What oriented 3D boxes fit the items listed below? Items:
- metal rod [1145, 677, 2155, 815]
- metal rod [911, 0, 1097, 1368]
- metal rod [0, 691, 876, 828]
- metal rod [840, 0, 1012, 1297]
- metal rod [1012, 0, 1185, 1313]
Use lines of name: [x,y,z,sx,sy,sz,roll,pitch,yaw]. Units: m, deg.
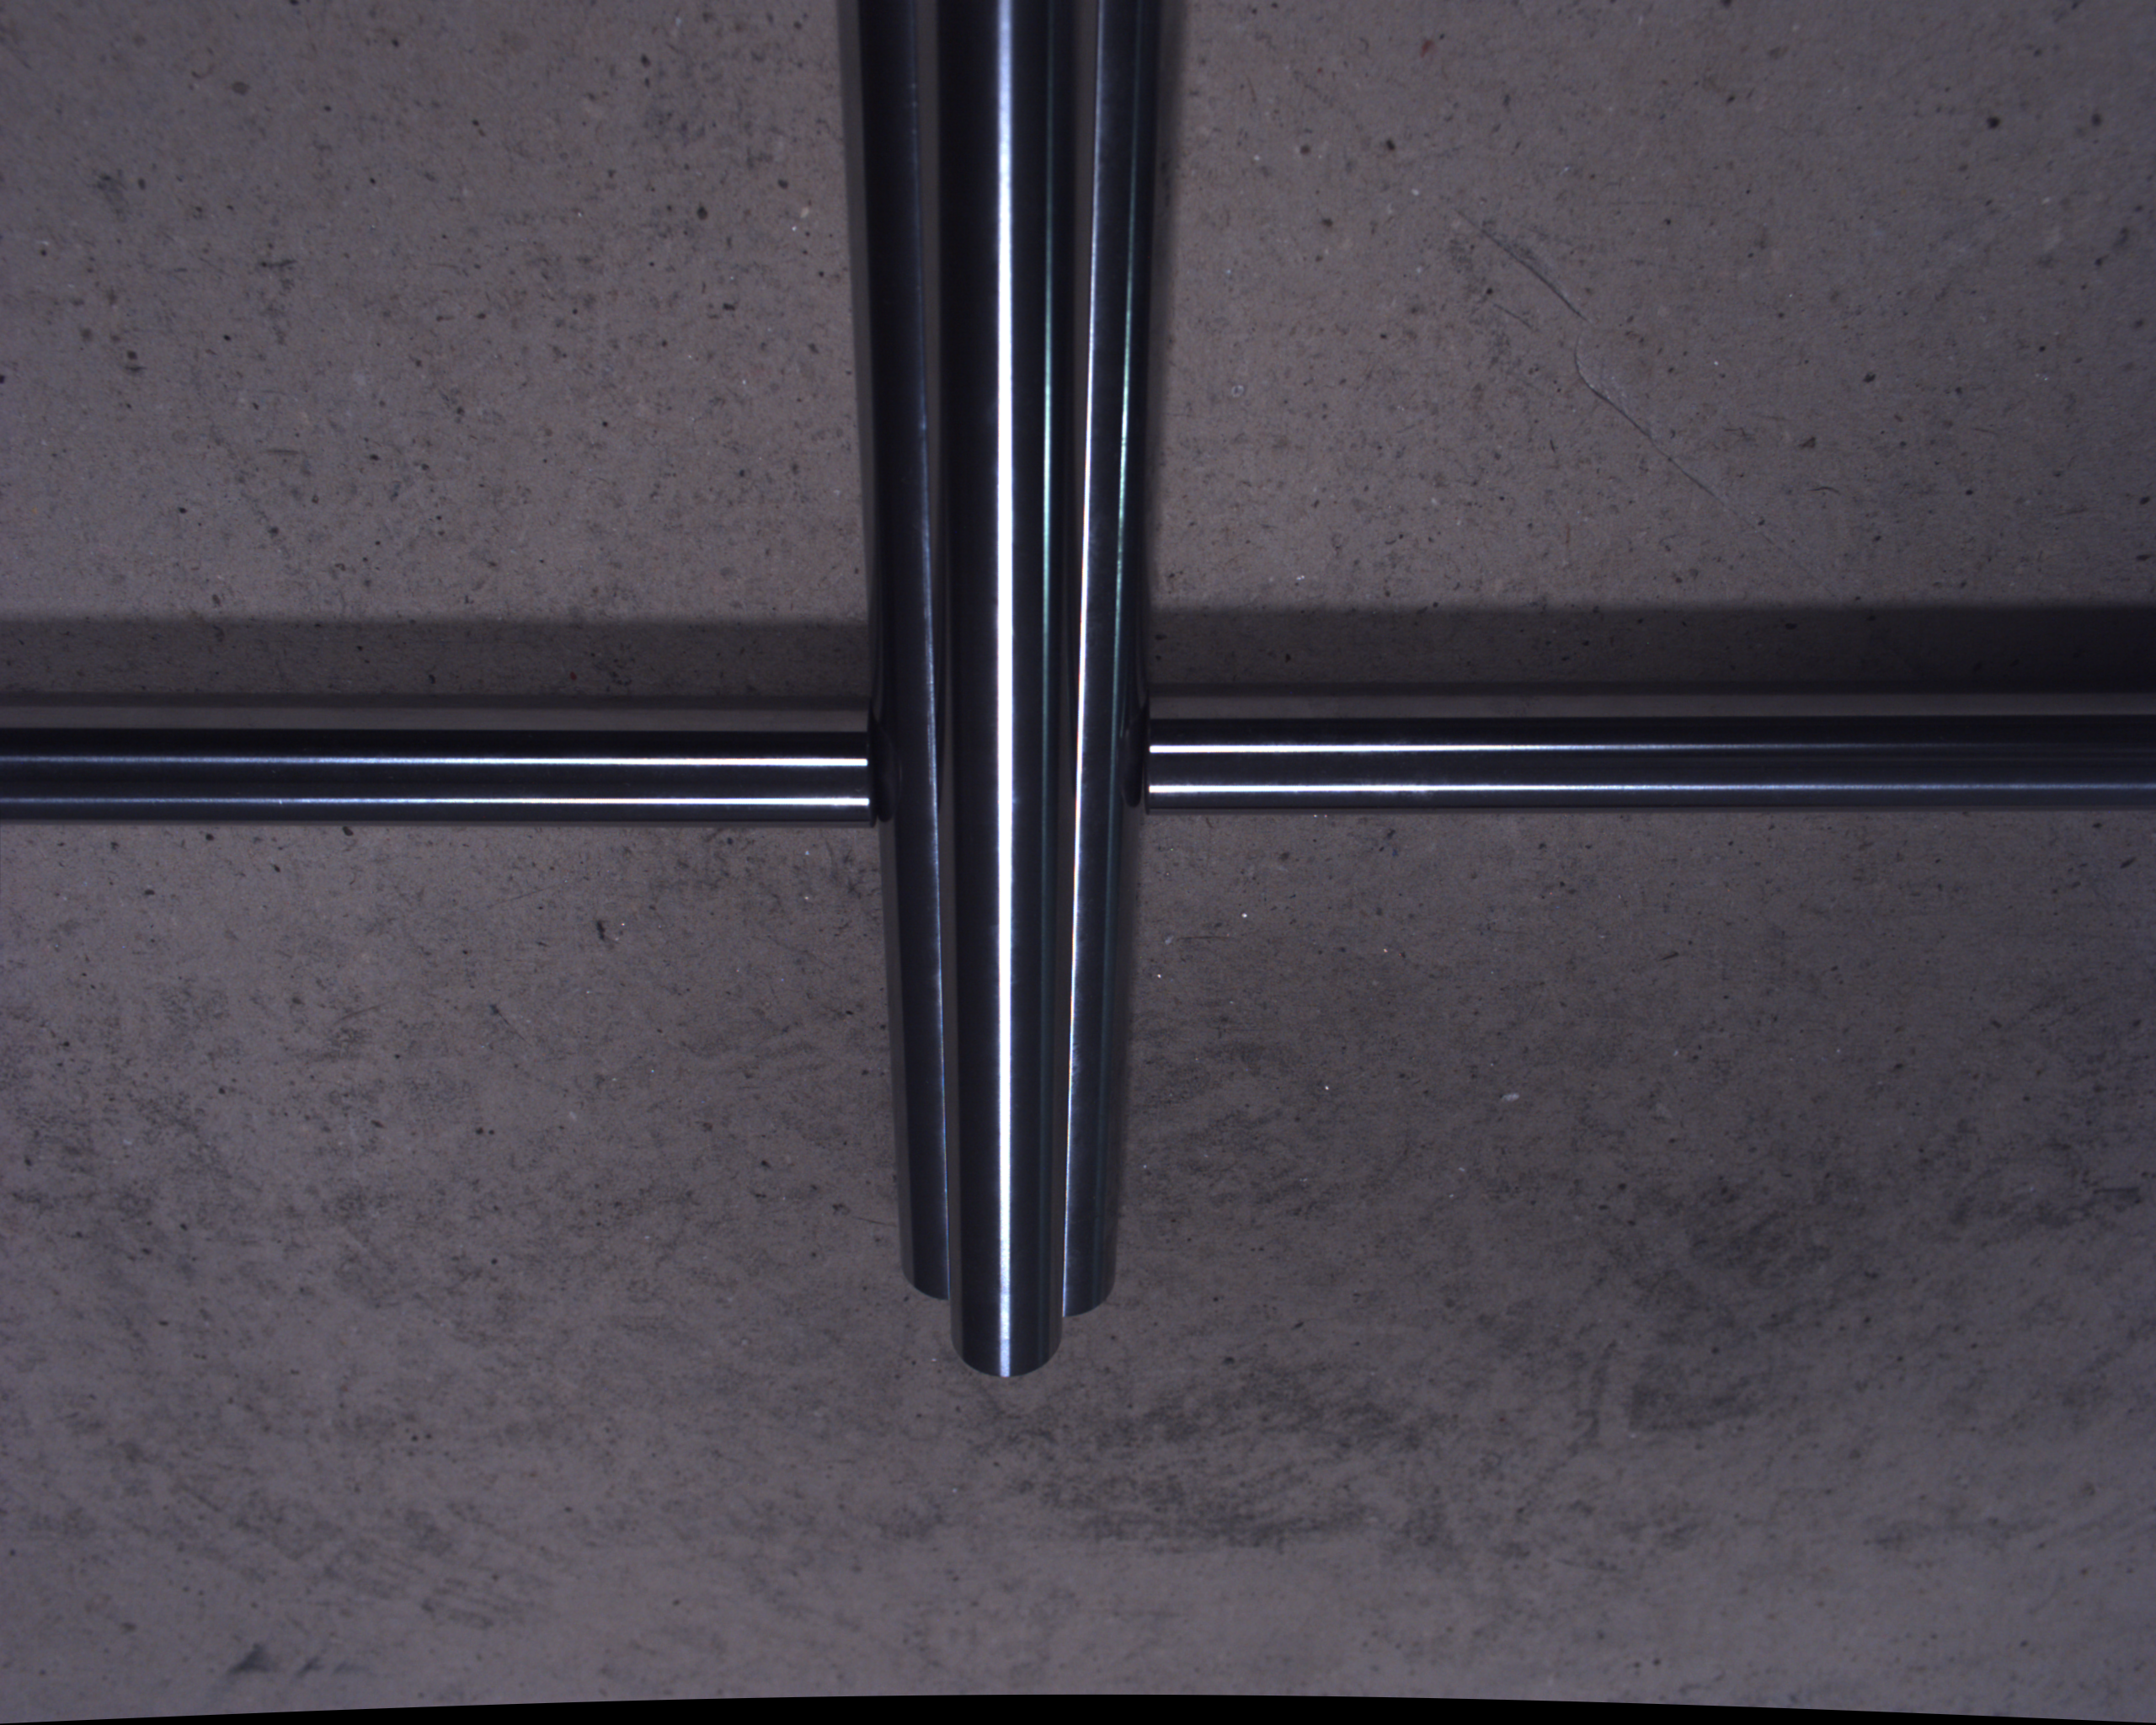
metal rod: [0.163,-0.022,0.392,0.302,0.025,0.025,0,130,-1]
metal rod: [-0.014,-0.010,0.374,0.025,0.025,0.298,1,130,-1]
metal rod: [-0.189,-0.019,0.389,0.302,0.025,0.025,0,130,-1]
metal rod: [-0.025,-0.022,0.391,0.025,0.025,0.298,1,130,-1]
metal rod: [-0.001,-0.017,0.395,0.025,0.025,0.298,1,130,-1]
